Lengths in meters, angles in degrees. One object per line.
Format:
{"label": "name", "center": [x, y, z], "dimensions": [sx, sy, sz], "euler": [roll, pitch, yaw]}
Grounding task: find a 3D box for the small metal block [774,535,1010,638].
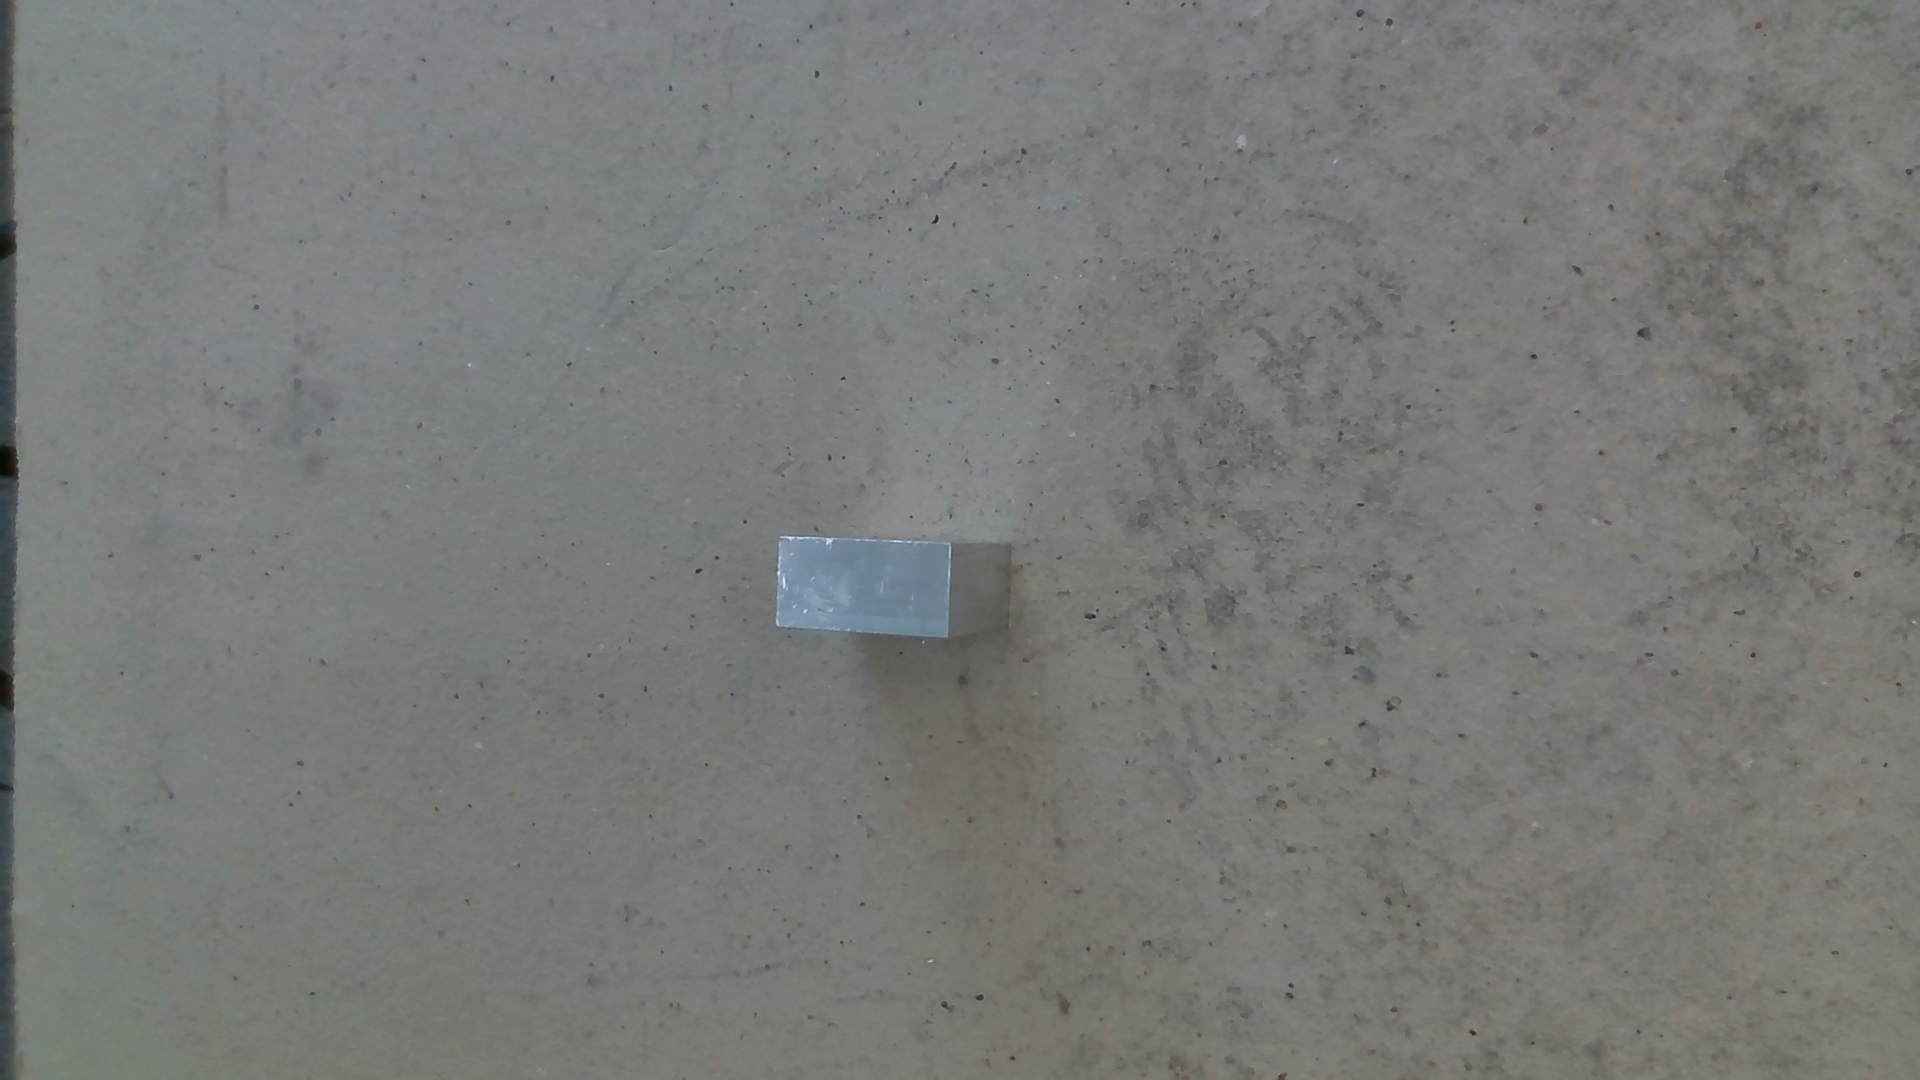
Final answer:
{"label": "small metal block", "center": [-0.018, 0.012, 0.387], "dimensions": [0.050, 0.050, 0.025], "euler": [2, 92, 20]}
